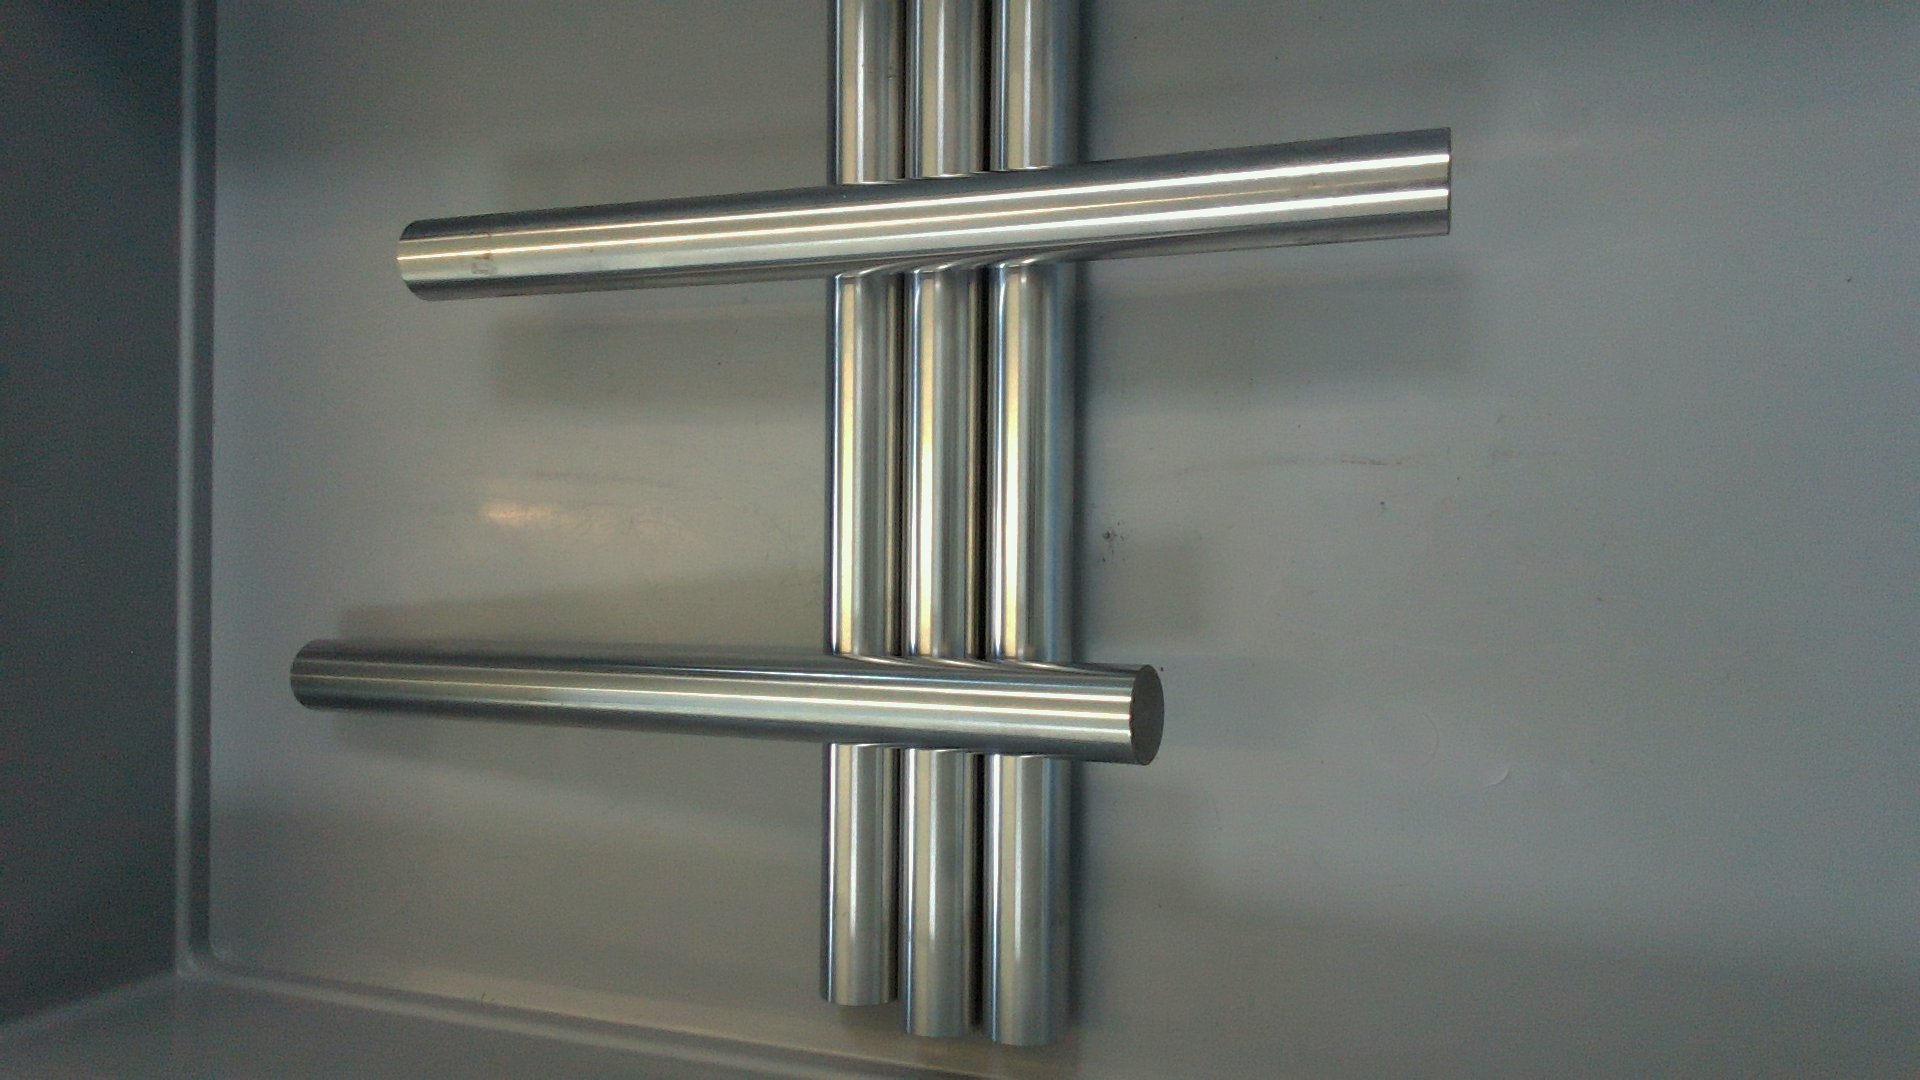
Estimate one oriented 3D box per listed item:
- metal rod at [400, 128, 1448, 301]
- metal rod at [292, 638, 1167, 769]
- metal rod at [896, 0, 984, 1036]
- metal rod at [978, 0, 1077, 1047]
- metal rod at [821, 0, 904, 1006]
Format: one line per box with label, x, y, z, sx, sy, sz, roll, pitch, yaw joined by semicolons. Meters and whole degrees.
metal rod;-0.025;-0.085;0.377;0.299;0.025;0.025;0;90;20
metal rod;-0.086;0.045;0.407;0.299;0.025;0.025;-1;90;27
metal rod;-0.004;-0.011;0.397;0.025;0.025;0.300;1;90;20
metal rod;0.019;-0.011;0.388;0.025;0.025;0.300;1;90;20
metal rod;-0.027;-0.017;0.406;0.025;0.025;0.300;1;90;20
